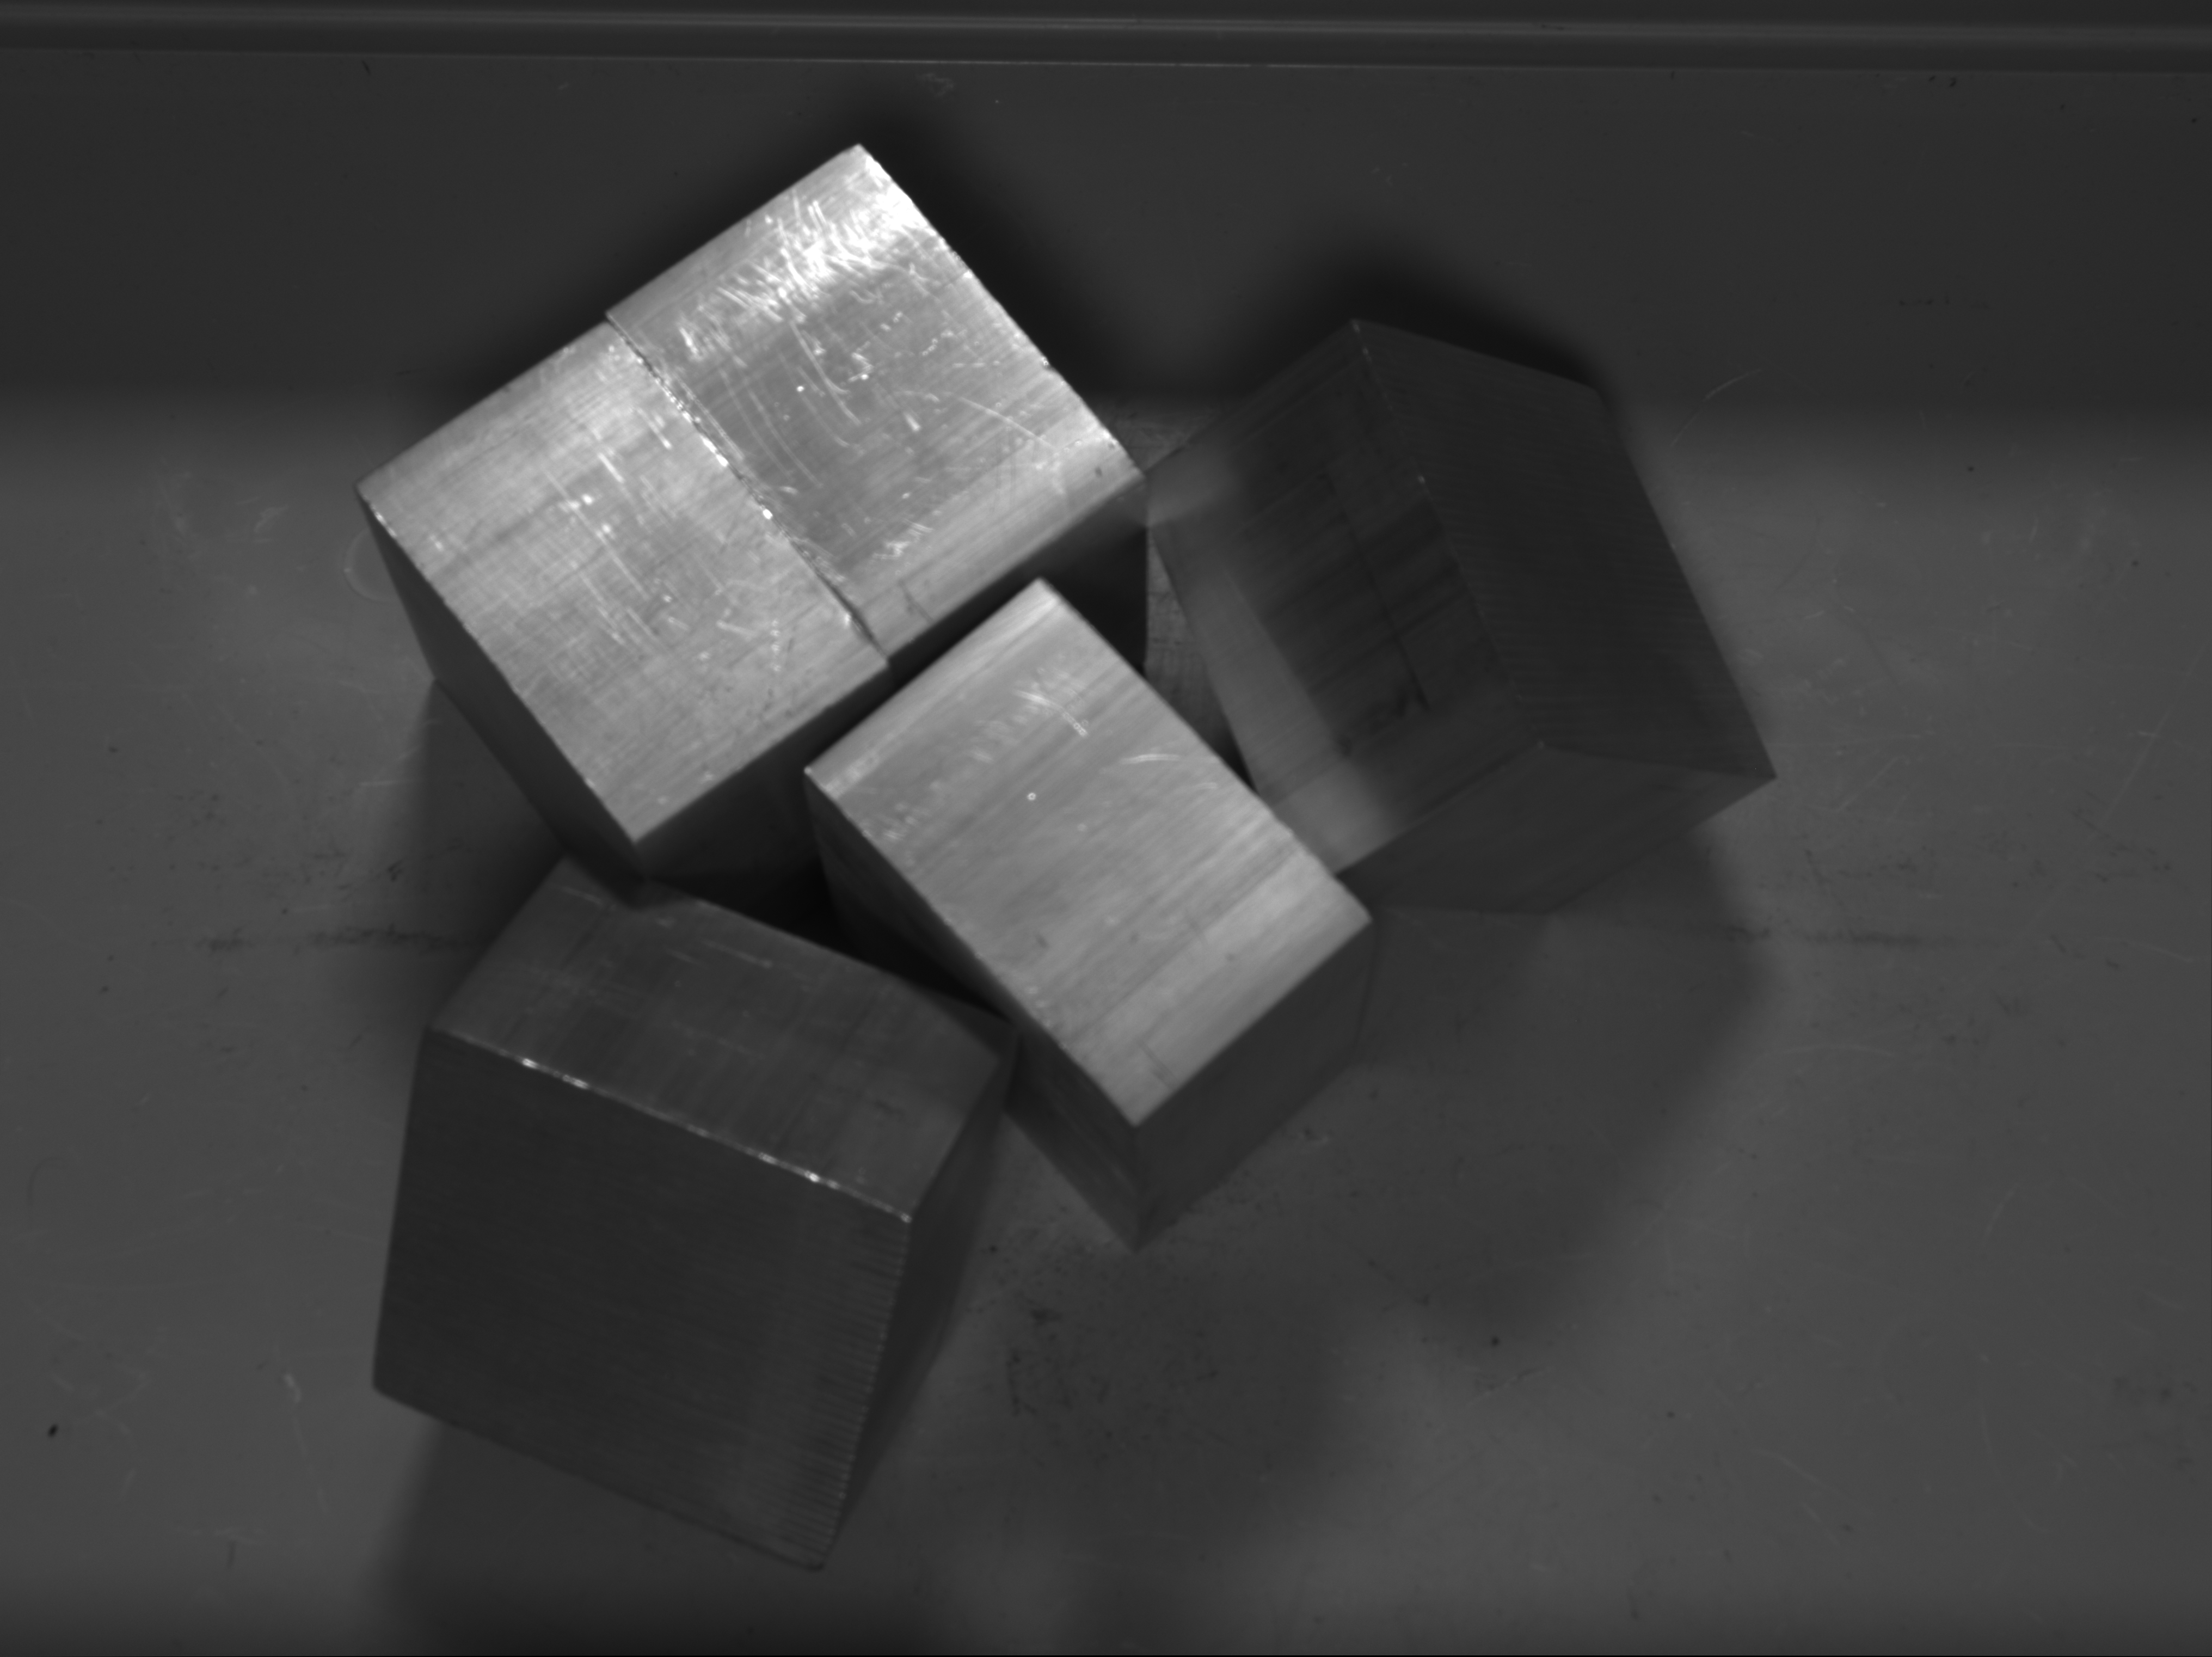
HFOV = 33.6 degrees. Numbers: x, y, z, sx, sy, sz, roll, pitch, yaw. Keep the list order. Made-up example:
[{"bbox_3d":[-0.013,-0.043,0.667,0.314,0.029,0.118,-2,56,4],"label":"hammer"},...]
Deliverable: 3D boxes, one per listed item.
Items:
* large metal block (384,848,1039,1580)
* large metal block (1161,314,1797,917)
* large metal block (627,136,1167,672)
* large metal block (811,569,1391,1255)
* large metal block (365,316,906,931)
[{"bbox_3d":[-0.064,0.061,0.585,0.080,0.080,0.050,21,37,7],"label":"large metal block"},{"bbox_3d":[0.062,-0.033,0.620,0.050,0.080,0.080,-34,68,31],"label":"large metal block"},{"bbox_3d":[-0.034,-0.058,0.636,0.050,0.080,0.080,-37,74,-12],"label":"large metal block"},{"bbox_3d":[-0.001,0.016,0.608,0.050,0.080,0.080,-40,75,-13],"label":"large metal block"},{"bbox_3d":[-0.076,-0.027,0.625,0.050,0.080,0.080,-36,74,-12],"label":"large metal block"}]
